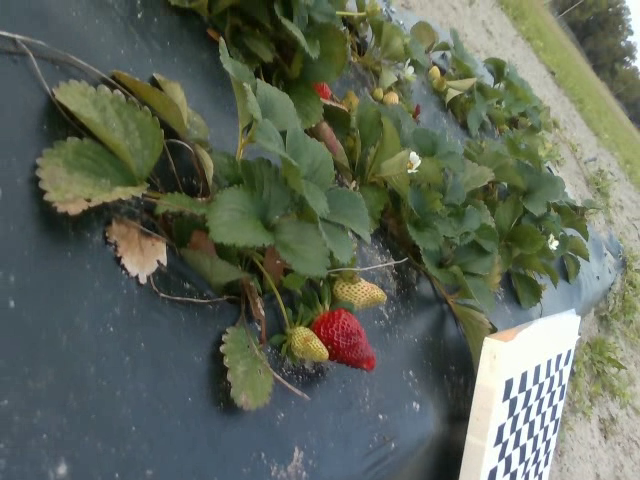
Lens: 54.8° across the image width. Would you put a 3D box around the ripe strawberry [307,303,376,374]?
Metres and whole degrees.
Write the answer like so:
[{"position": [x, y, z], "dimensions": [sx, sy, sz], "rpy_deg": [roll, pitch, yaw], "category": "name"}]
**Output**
[{"position": [0.020, 0.075, 0.427], "dimensions": [0.059, 0.046, 0.046], "rpy_deg": [38, 26, 30], "category": "ripe strawberry"}]
